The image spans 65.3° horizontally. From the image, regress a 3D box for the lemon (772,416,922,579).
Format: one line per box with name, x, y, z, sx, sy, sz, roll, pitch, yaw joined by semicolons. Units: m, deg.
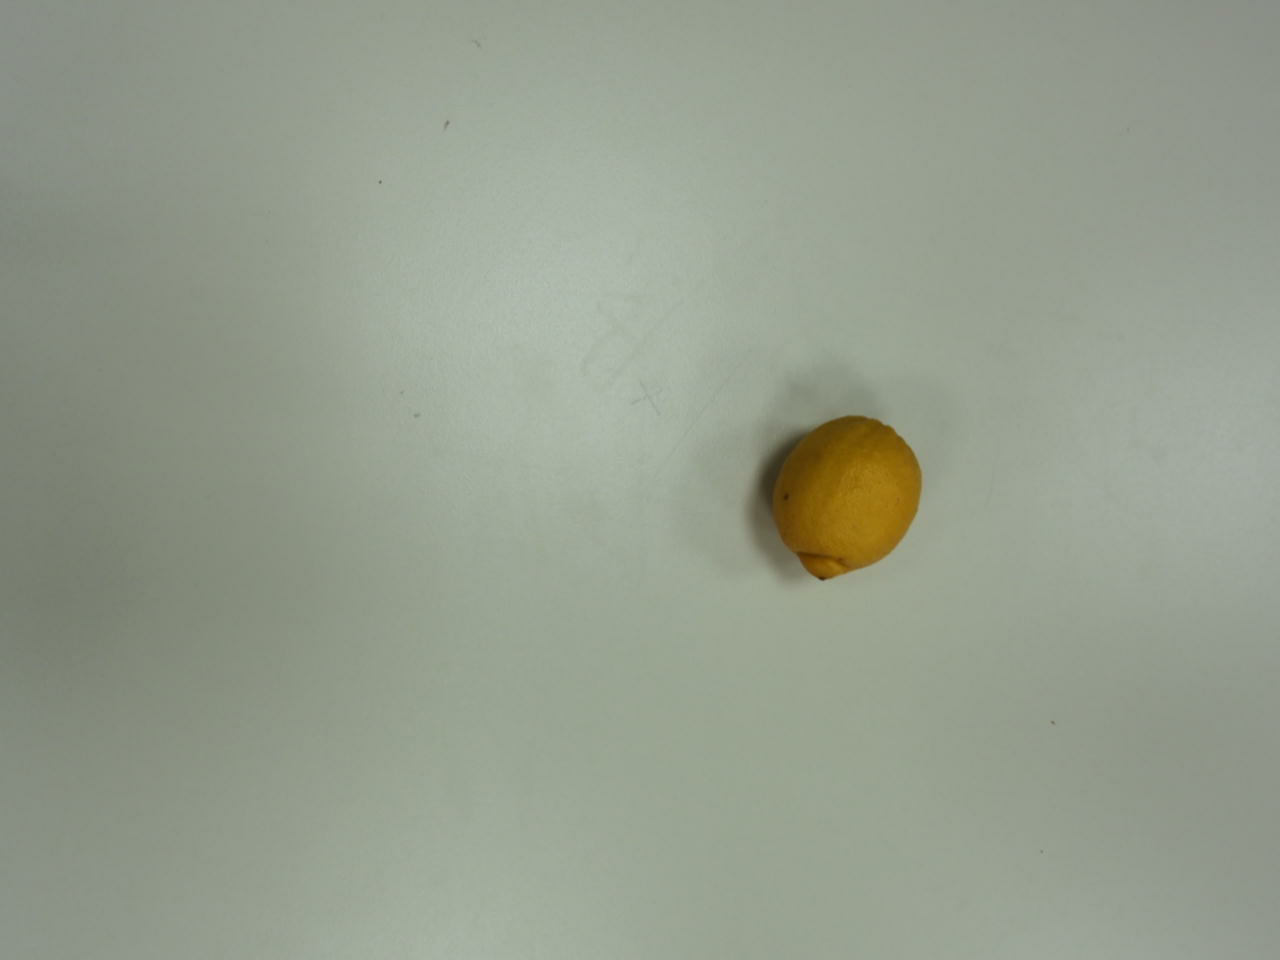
lemon;0.088;0.006;0.427;0.067;0.059;0.061;-39;97;-9
